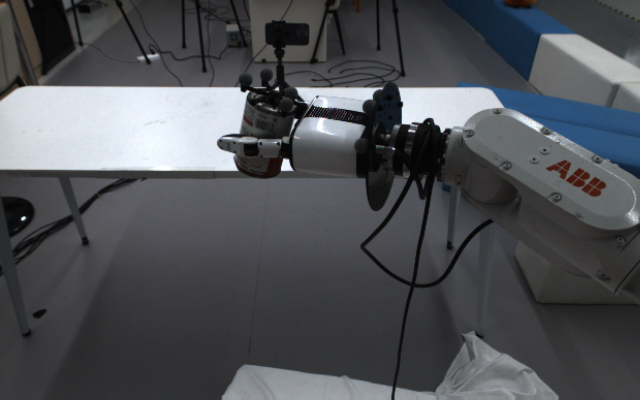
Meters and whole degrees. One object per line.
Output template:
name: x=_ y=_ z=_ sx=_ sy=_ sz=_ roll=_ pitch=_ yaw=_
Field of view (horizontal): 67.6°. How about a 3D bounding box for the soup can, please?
soup can: x=-0.074 y=-0.088 z=0.650 sx=0.067 sy=0.101 sz=0.067 roll=13 pitch=35 yaw=-9
